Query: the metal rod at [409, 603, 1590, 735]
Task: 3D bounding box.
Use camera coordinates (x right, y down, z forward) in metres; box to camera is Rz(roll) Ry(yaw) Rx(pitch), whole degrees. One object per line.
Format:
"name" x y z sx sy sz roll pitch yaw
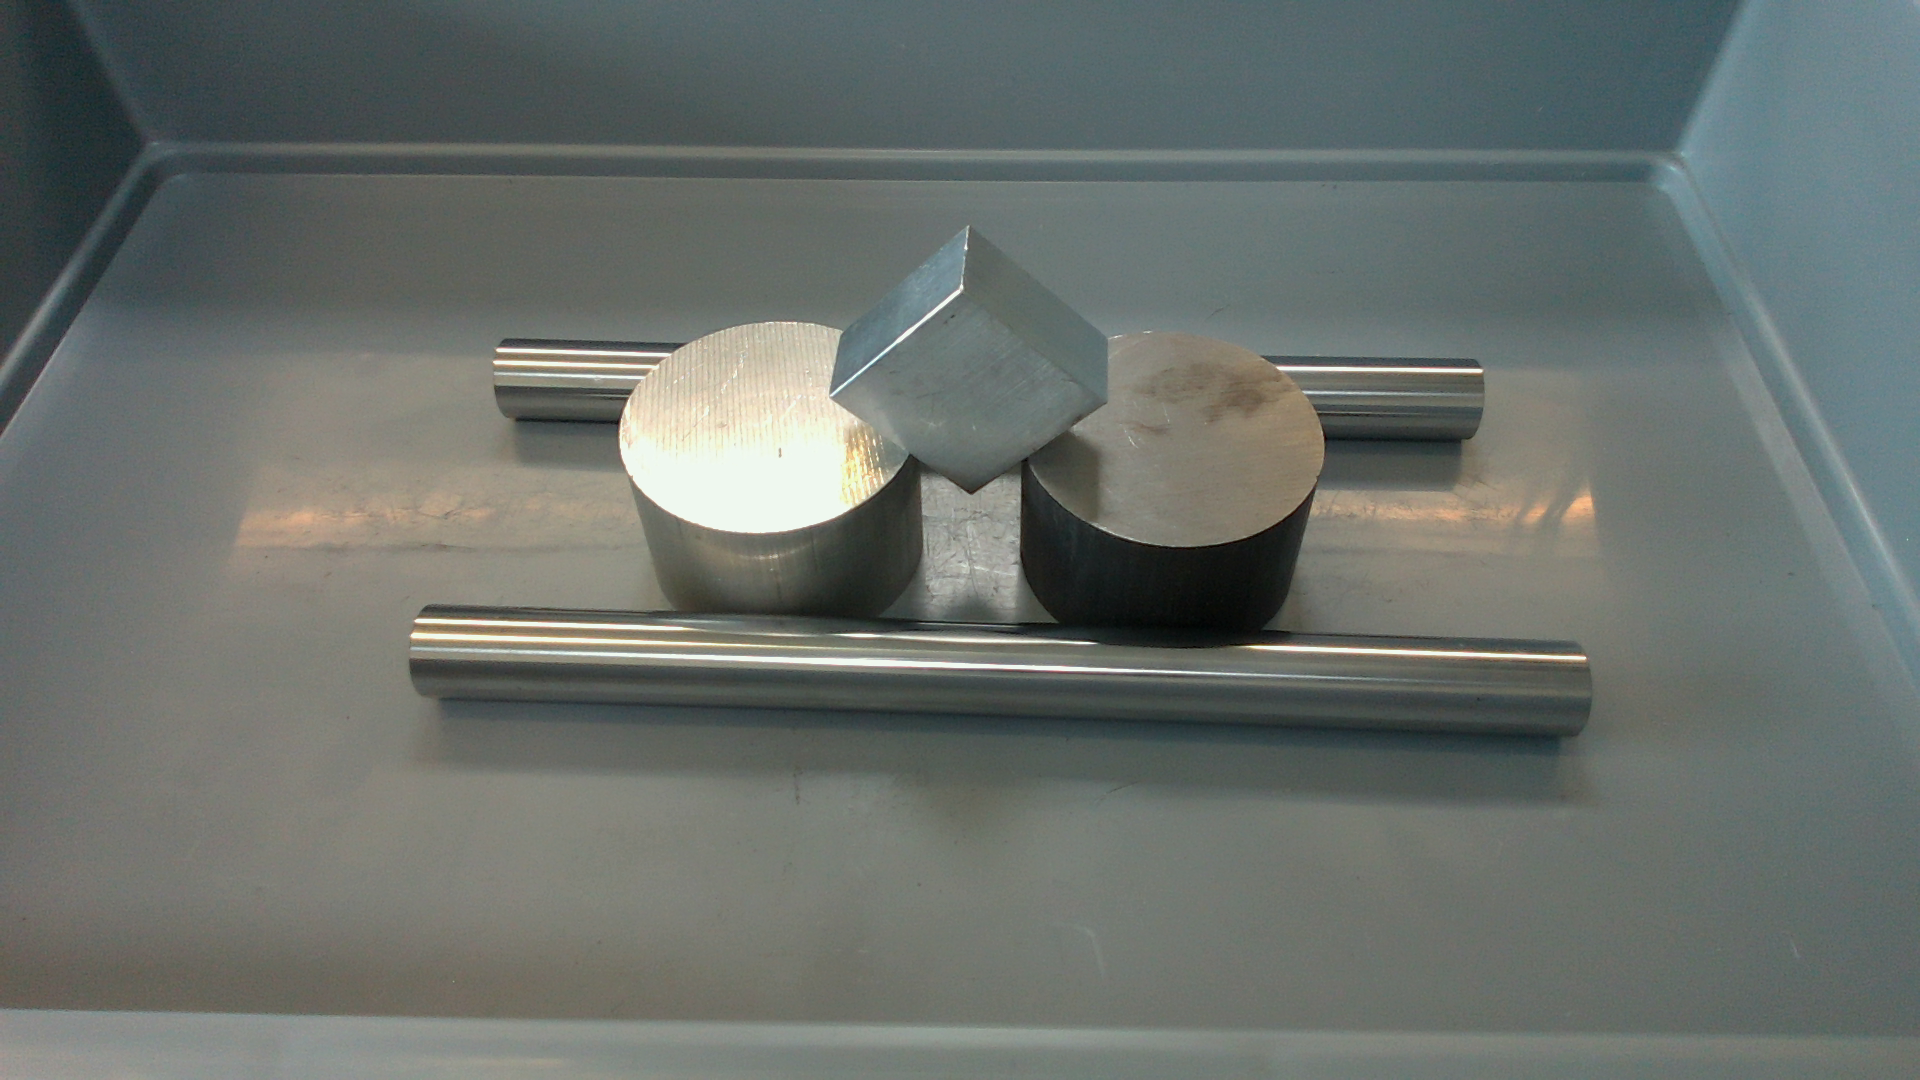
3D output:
"metal rod" 0.009 0.034 0.362 0.300 0.025 0.025 2 50 1

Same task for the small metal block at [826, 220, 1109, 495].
"small metal block" 0.002 -0.045 0.351 0.050 0.050 0.025 33 41 -29

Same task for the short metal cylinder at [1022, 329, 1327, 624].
"short metal cylinder" 0.057 -0.013 0.385 0.080 0.050 0.080 0 50 0

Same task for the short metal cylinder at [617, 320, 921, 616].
"short metal cylinder" -0.051 -0.017 0.388 0.080 0.050 0.080 0 50 0

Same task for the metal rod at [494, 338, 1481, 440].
"metal rod" 0.008 -0.047 0.430 0.300 0.025 0.025 1 50 1
